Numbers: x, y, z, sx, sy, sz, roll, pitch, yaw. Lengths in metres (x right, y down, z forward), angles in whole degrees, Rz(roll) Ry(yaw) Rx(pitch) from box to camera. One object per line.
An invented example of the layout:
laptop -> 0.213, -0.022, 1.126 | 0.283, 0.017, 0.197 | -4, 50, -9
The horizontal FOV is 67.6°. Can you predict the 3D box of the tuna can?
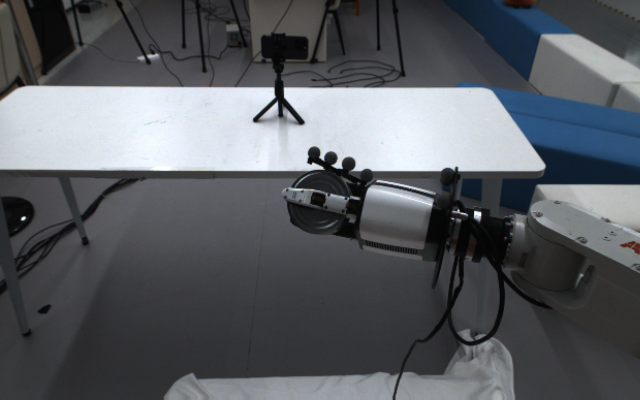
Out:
tuna can -> 0.004, 0.003, 0.646 | 0.085, 0.085, 0.034 | 13, -6, 16
